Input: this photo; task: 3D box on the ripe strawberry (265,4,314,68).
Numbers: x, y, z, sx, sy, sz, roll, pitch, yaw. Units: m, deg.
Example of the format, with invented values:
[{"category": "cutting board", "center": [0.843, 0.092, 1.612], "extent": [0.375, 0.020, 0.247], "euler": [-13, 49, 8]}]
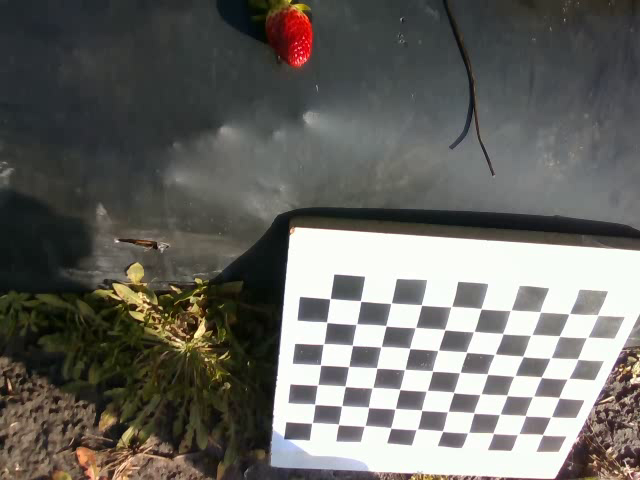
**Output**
[{"category": "ripe strawberry", "center": [-0.015, -0.103, 0.315], "extent": [0.028, 0.041, 0.031], "euler": [-17, -25, 10]}]
